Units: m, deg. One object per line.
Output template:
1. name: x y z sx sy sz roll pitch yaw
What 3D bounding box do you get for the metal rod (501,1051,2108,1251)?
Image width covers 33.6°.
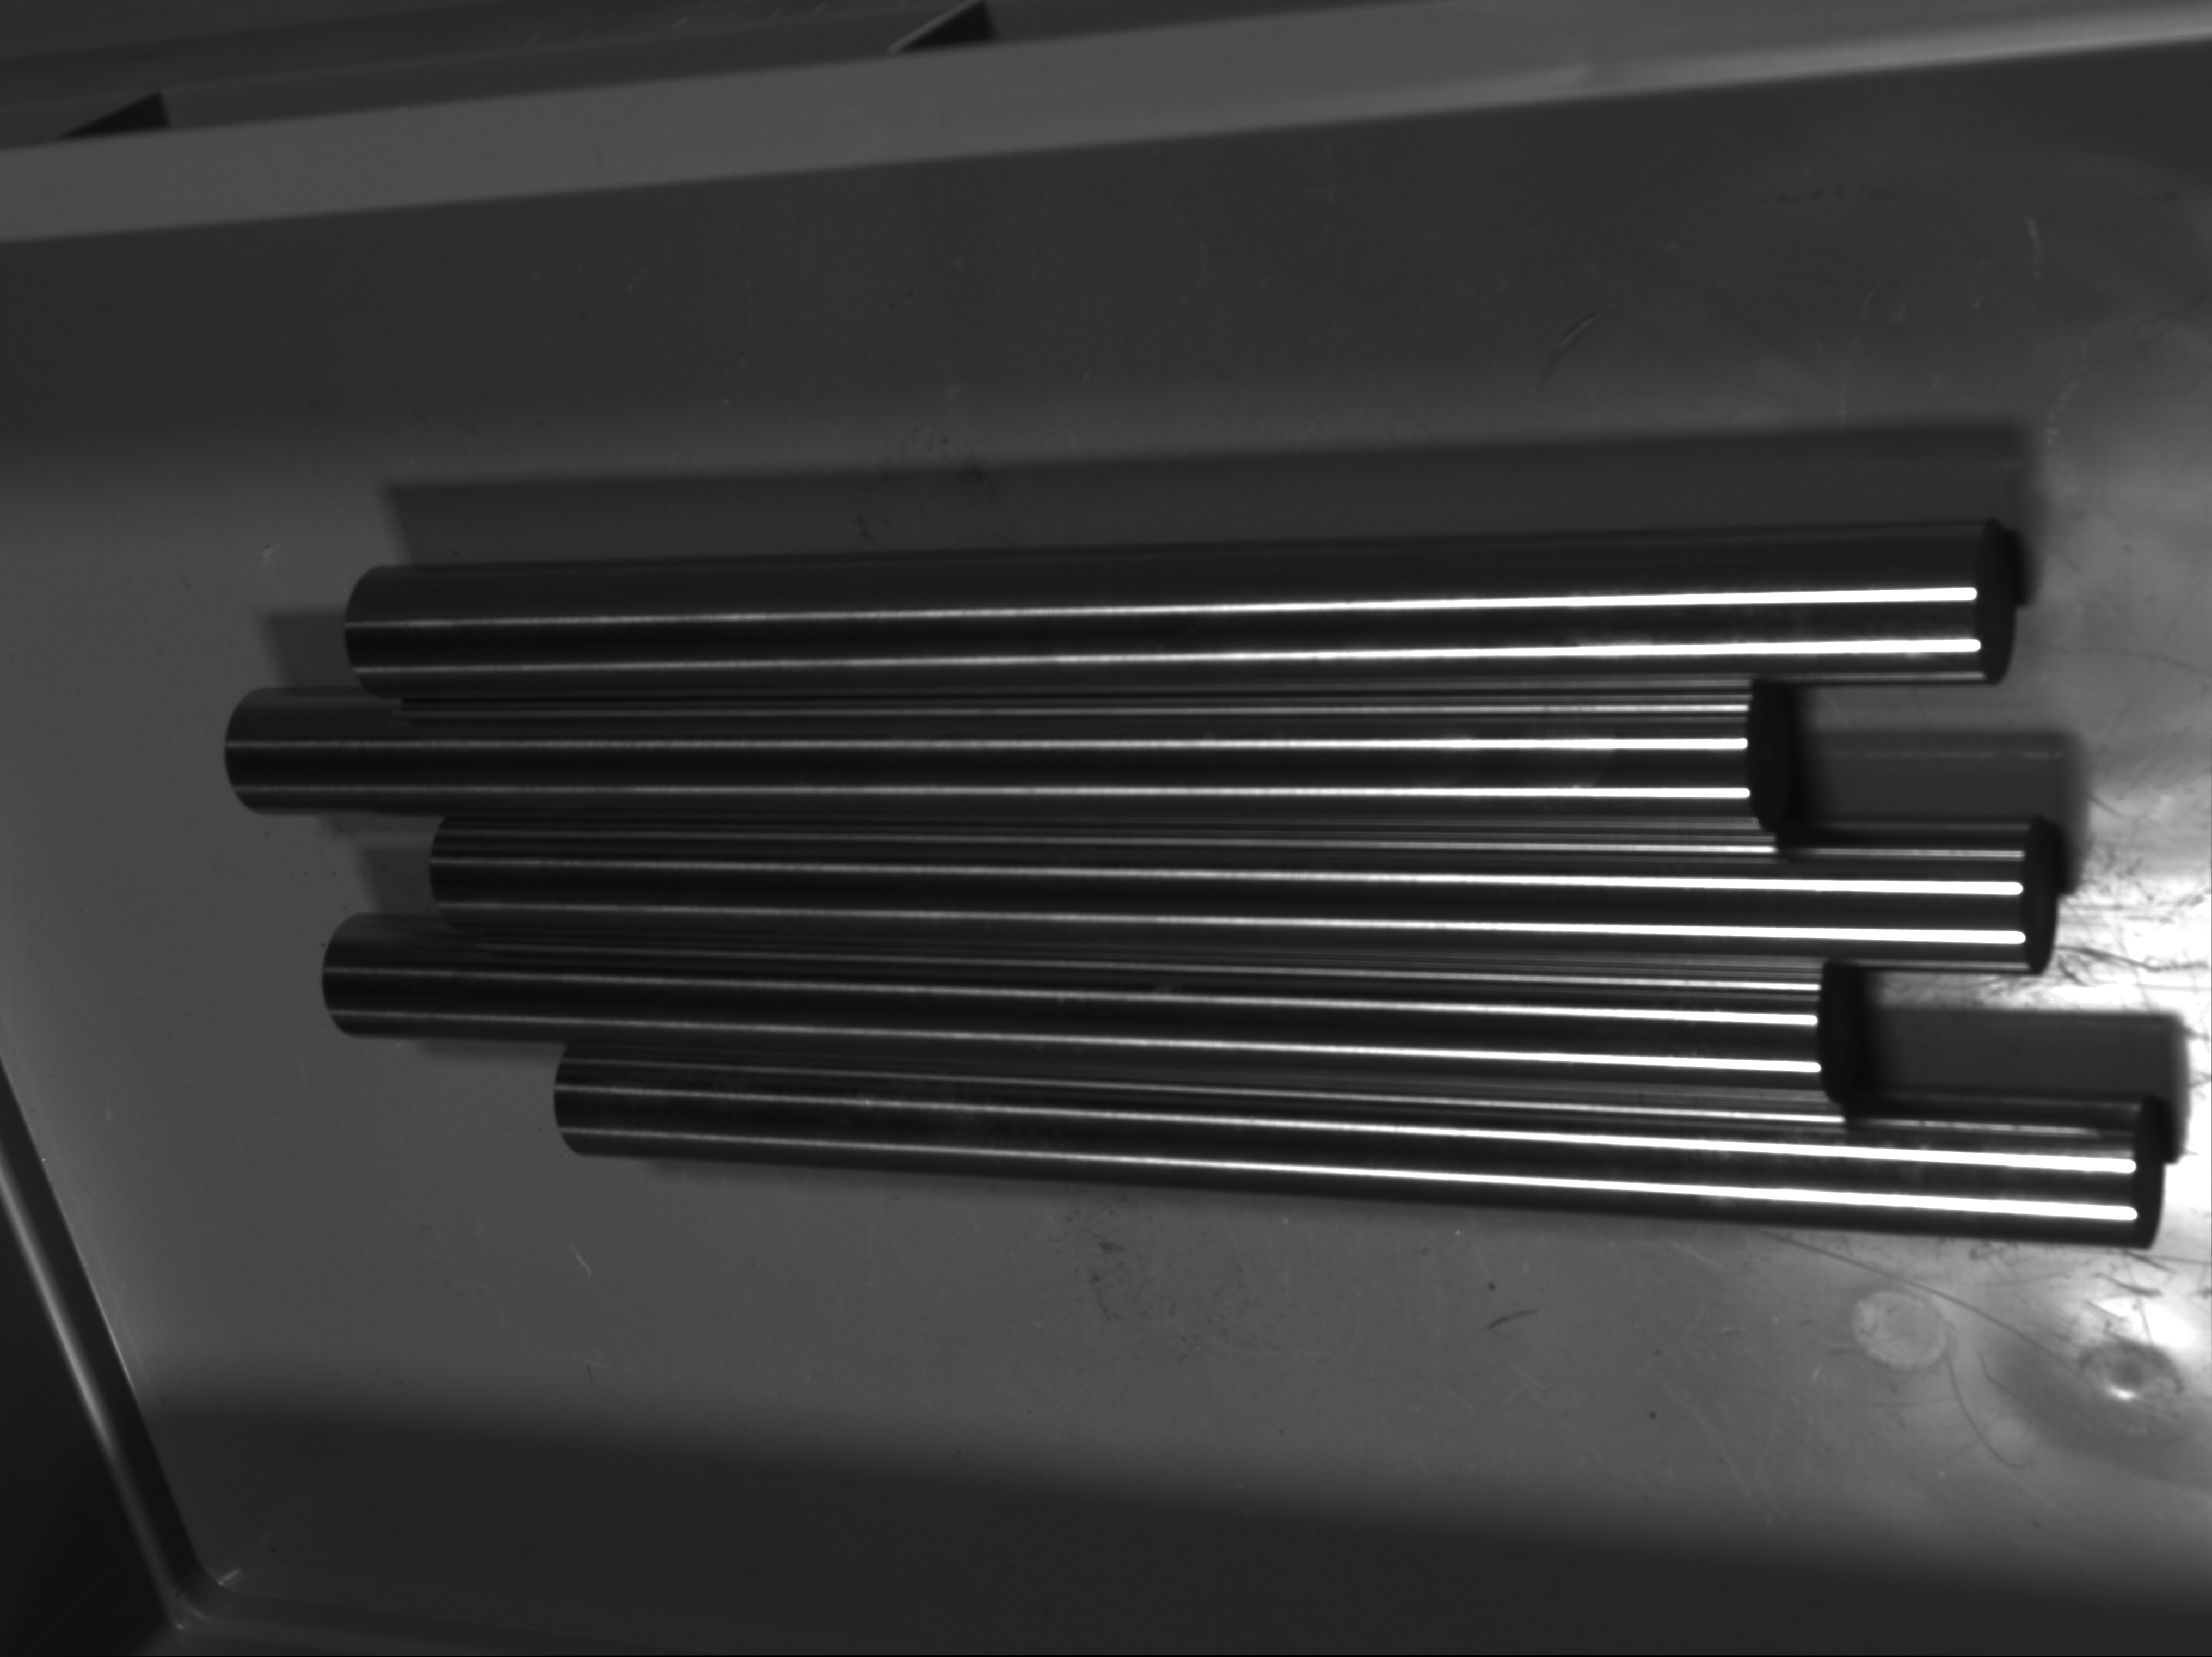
1. metal rod: 0.023 0.053 0.650 0.299 0.025 0.025 1 119 26

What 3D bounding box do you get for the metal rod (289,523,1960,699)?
1. metal rod: -0.009 -0.035 0.614 0.299 0.025 0.025 1 119 26

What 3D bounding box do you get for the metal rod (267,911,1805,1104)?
1. metal rod: -0.024 0.031 0.660 0.299 0.025 0.025 1 119 26

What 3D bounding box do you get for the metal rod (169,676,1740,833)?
1. metal rod: -0.038 -0.013 0.641 0.299 0.025 0.025 1 119 26

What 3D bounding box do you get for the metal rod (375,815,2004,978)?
1. metal rod: 0.002 0.009 0.634 0.299 0.025 0.025 1 119 26
